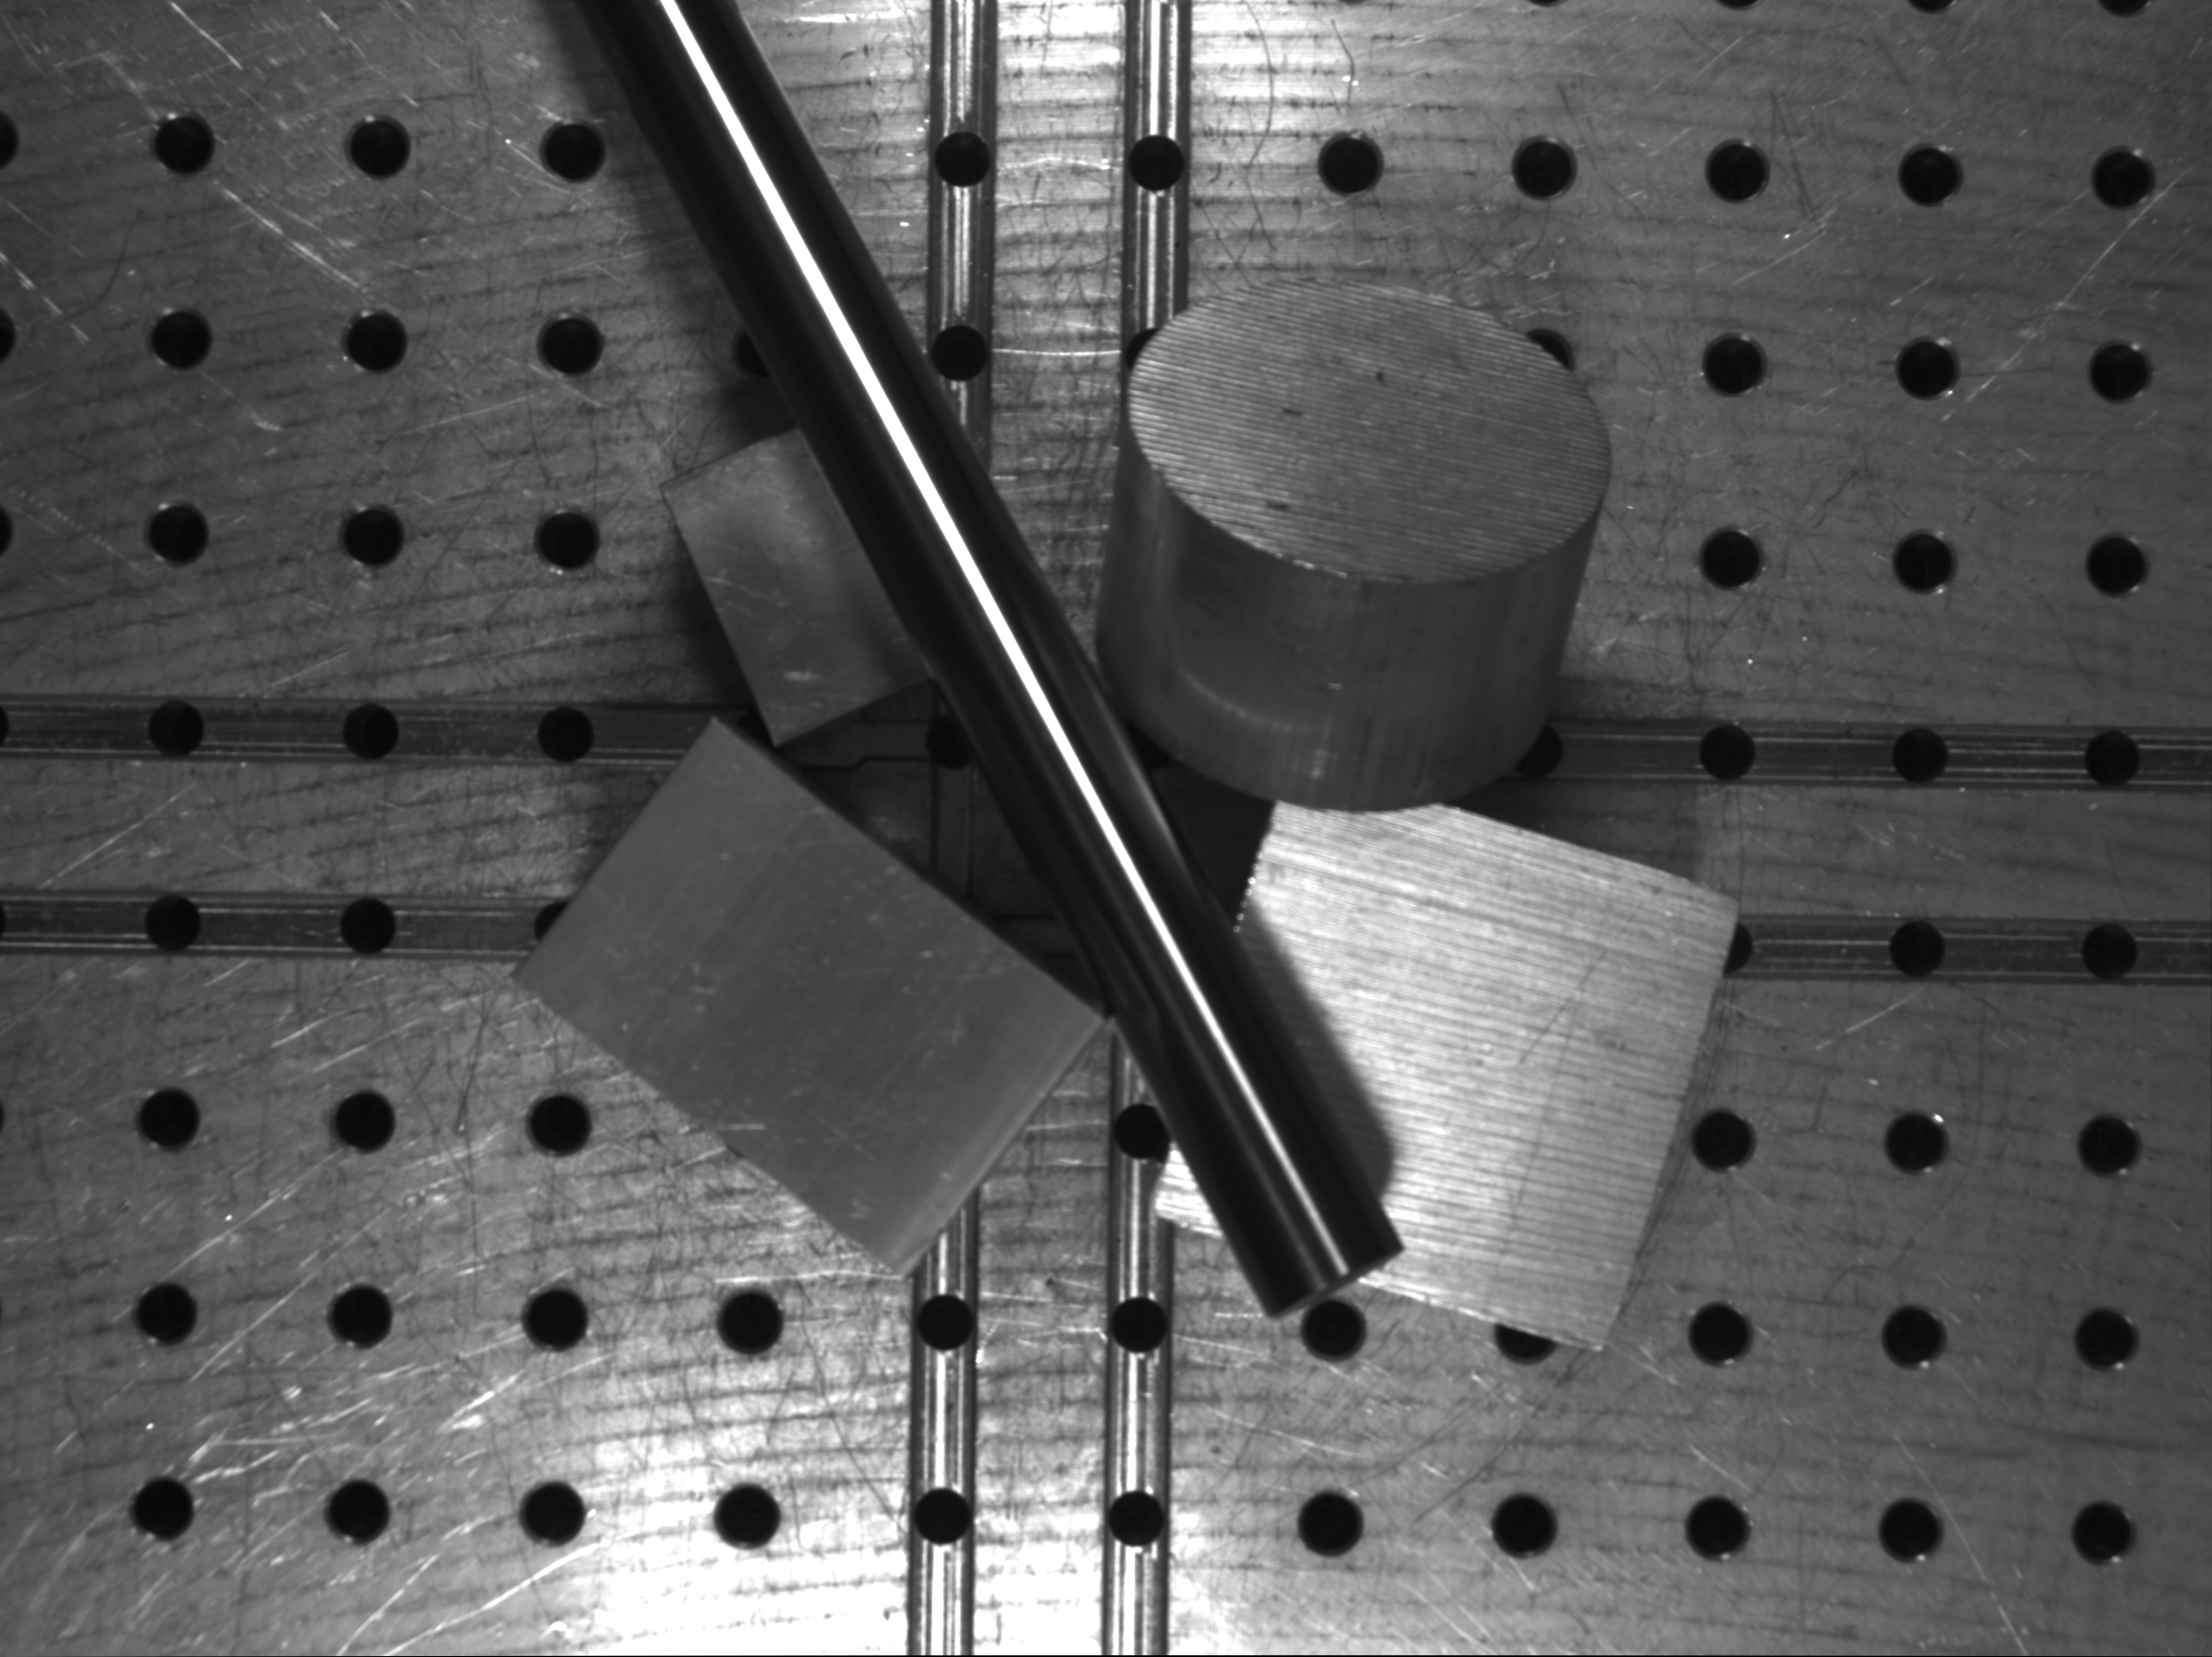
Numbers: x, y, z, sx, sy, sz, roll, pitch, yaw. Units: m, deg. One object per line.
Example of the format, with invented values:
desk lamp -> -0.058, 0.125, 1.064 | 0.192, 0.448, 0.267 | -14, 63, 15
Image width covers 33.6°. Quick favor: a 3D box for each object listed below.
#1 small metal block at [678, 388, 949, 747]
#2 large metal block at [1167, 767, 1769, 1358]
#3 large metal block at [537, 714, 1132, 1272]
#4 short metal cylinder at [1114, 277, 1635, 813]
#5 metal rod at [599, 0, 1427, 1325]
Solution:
small metal block -> -0.041, -0.047, 0.648 | 0.050, 0.025, 0.050 | -24, 90, 0
large metal block -> 0.060, 0.038, 0.635 | 0.080, 0.050, 0.080 | 18, 90, 0
large metal block -> -0.043, 0.026, 0.619 | 0.080, 0.080, 0.050 | 37, 90, 0
short metal cylinder -> 0.044, -0.048, 0.614 | 0.080, 0.080, 0.050 | 9, 133, 0
metal rod -> -0.028, -0.056, 0.617 | 0.025, 0.025, 0.300 | -28, 79, 0
